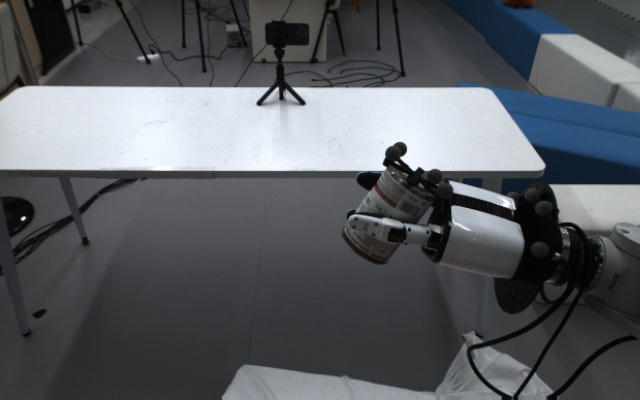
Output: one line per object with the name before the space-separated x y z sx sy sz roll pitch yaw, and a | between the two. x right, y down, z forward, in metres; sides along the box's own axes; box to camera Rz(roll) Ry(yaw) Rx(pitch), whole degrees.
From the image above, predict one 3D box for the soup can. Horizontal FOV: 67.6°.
soup can | 0.082 0.017 0.572 0.067 0.101 0.067 28 21 -12
